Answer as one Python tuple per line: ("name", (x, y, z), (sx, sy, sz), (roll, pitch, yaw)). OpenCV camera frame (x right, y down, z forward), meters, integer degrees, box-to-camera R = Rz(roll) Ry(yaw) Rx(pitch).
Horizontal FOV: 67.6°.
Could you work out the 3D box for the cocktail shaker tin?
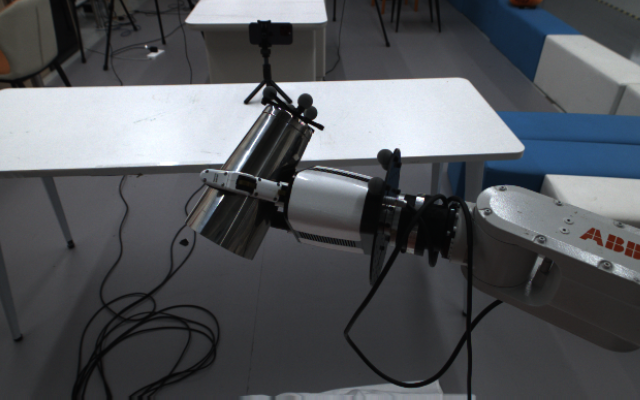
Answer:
("cocktail shaker tin", (-0.079, -0.027, 0.584), (0.093, 0.093, 0.170), (26, 83, 31))
